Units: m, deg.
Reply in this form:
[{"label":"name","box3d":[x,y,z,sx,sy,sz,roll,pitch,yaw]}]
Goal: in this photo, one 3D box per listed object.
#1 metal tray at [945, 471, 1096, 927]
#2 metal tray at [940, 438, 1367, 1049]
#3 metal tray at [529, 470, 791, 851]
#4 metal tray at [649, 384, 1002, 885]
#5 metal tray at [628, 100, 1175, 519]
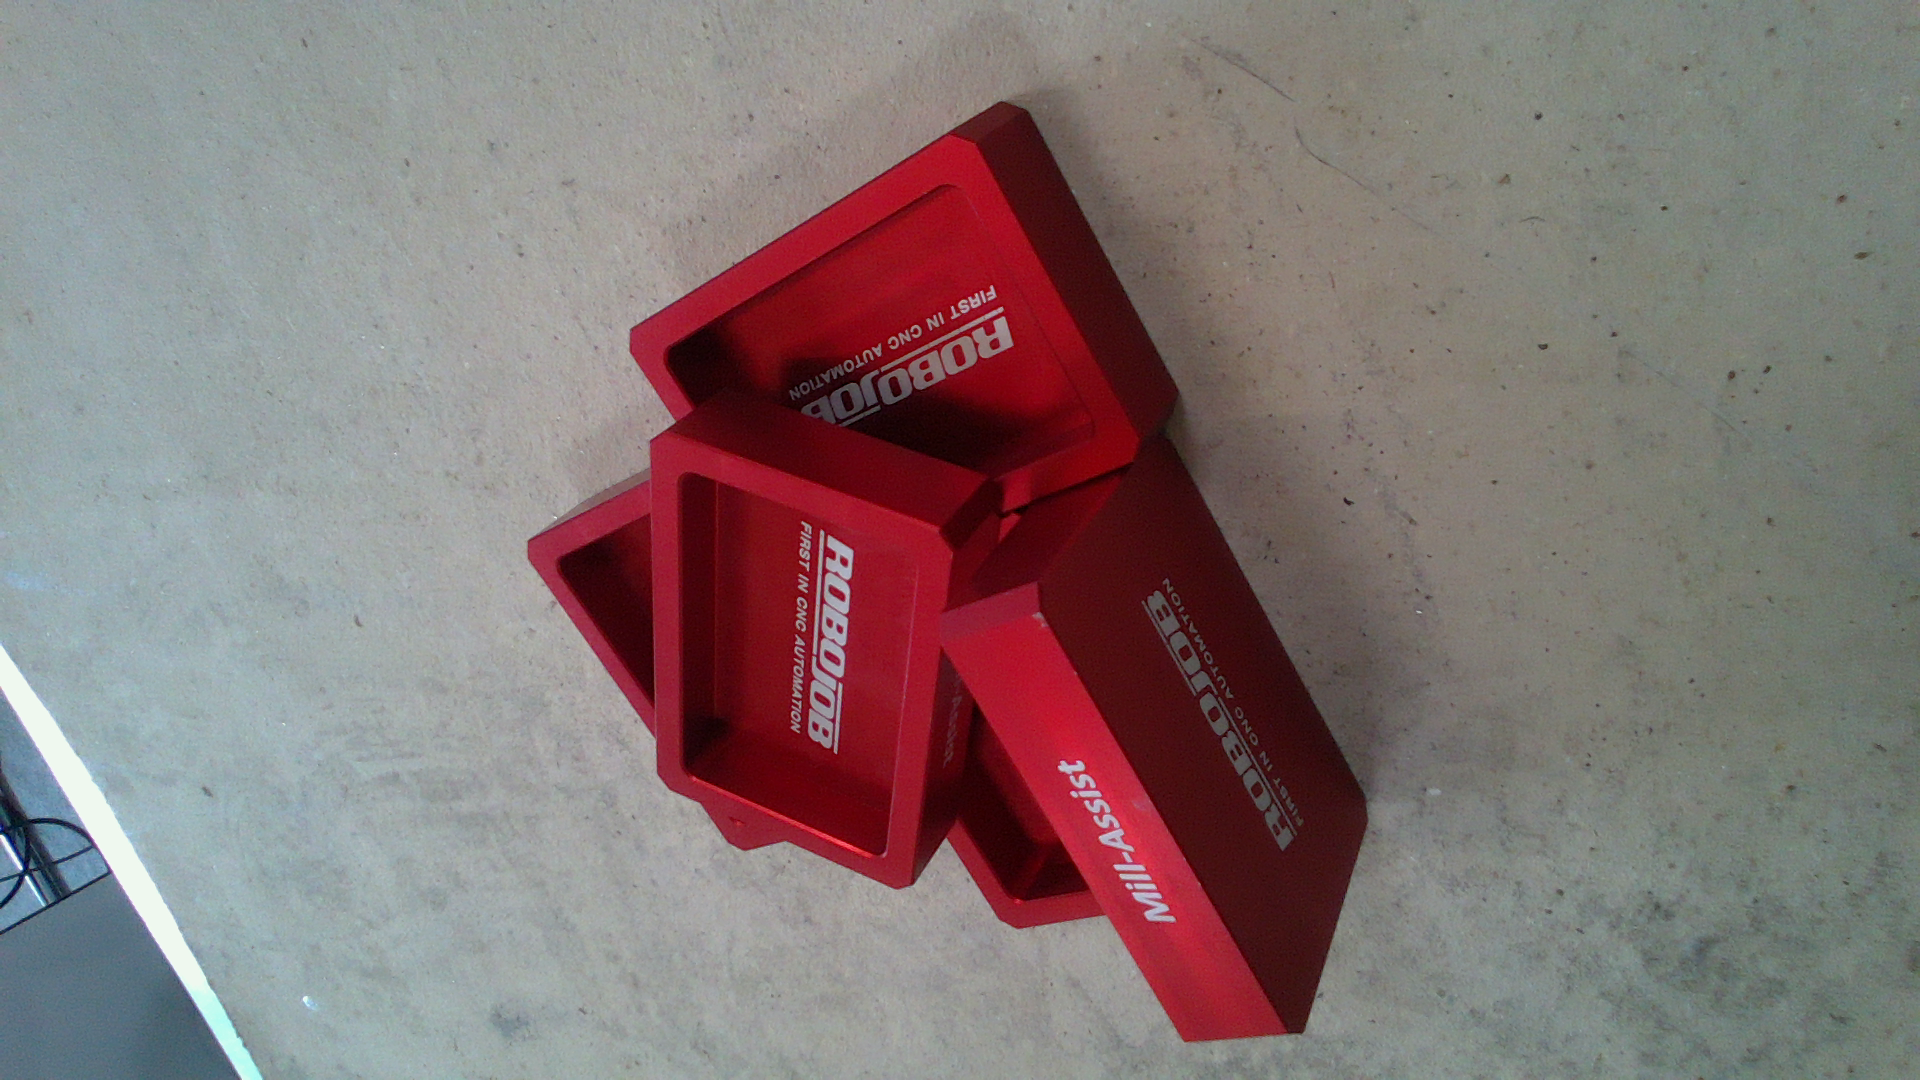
[{"label":"metal tray","box3d":[0.021,0.052,0.409,0.090,0.030,0.130,-21,109,37]},{"label":"metal tray","box3d":[0.055,0.049,0.349,0.030,0.090,0.130,-20,108,35]},{"label":"metal tray","box3d":[-0.072,0.036,0.450,0.090,0.030,0.130,-20,107,36]},{"label":"metal tray","box3d":[-0.042,0.030,0.393,0.090,0.030,0.130,20,127,17]},{"label":"metal tray","box3d":[-0.019,-0.047,0.372,0.129,0.030,0.090,-20,108,36]}]
